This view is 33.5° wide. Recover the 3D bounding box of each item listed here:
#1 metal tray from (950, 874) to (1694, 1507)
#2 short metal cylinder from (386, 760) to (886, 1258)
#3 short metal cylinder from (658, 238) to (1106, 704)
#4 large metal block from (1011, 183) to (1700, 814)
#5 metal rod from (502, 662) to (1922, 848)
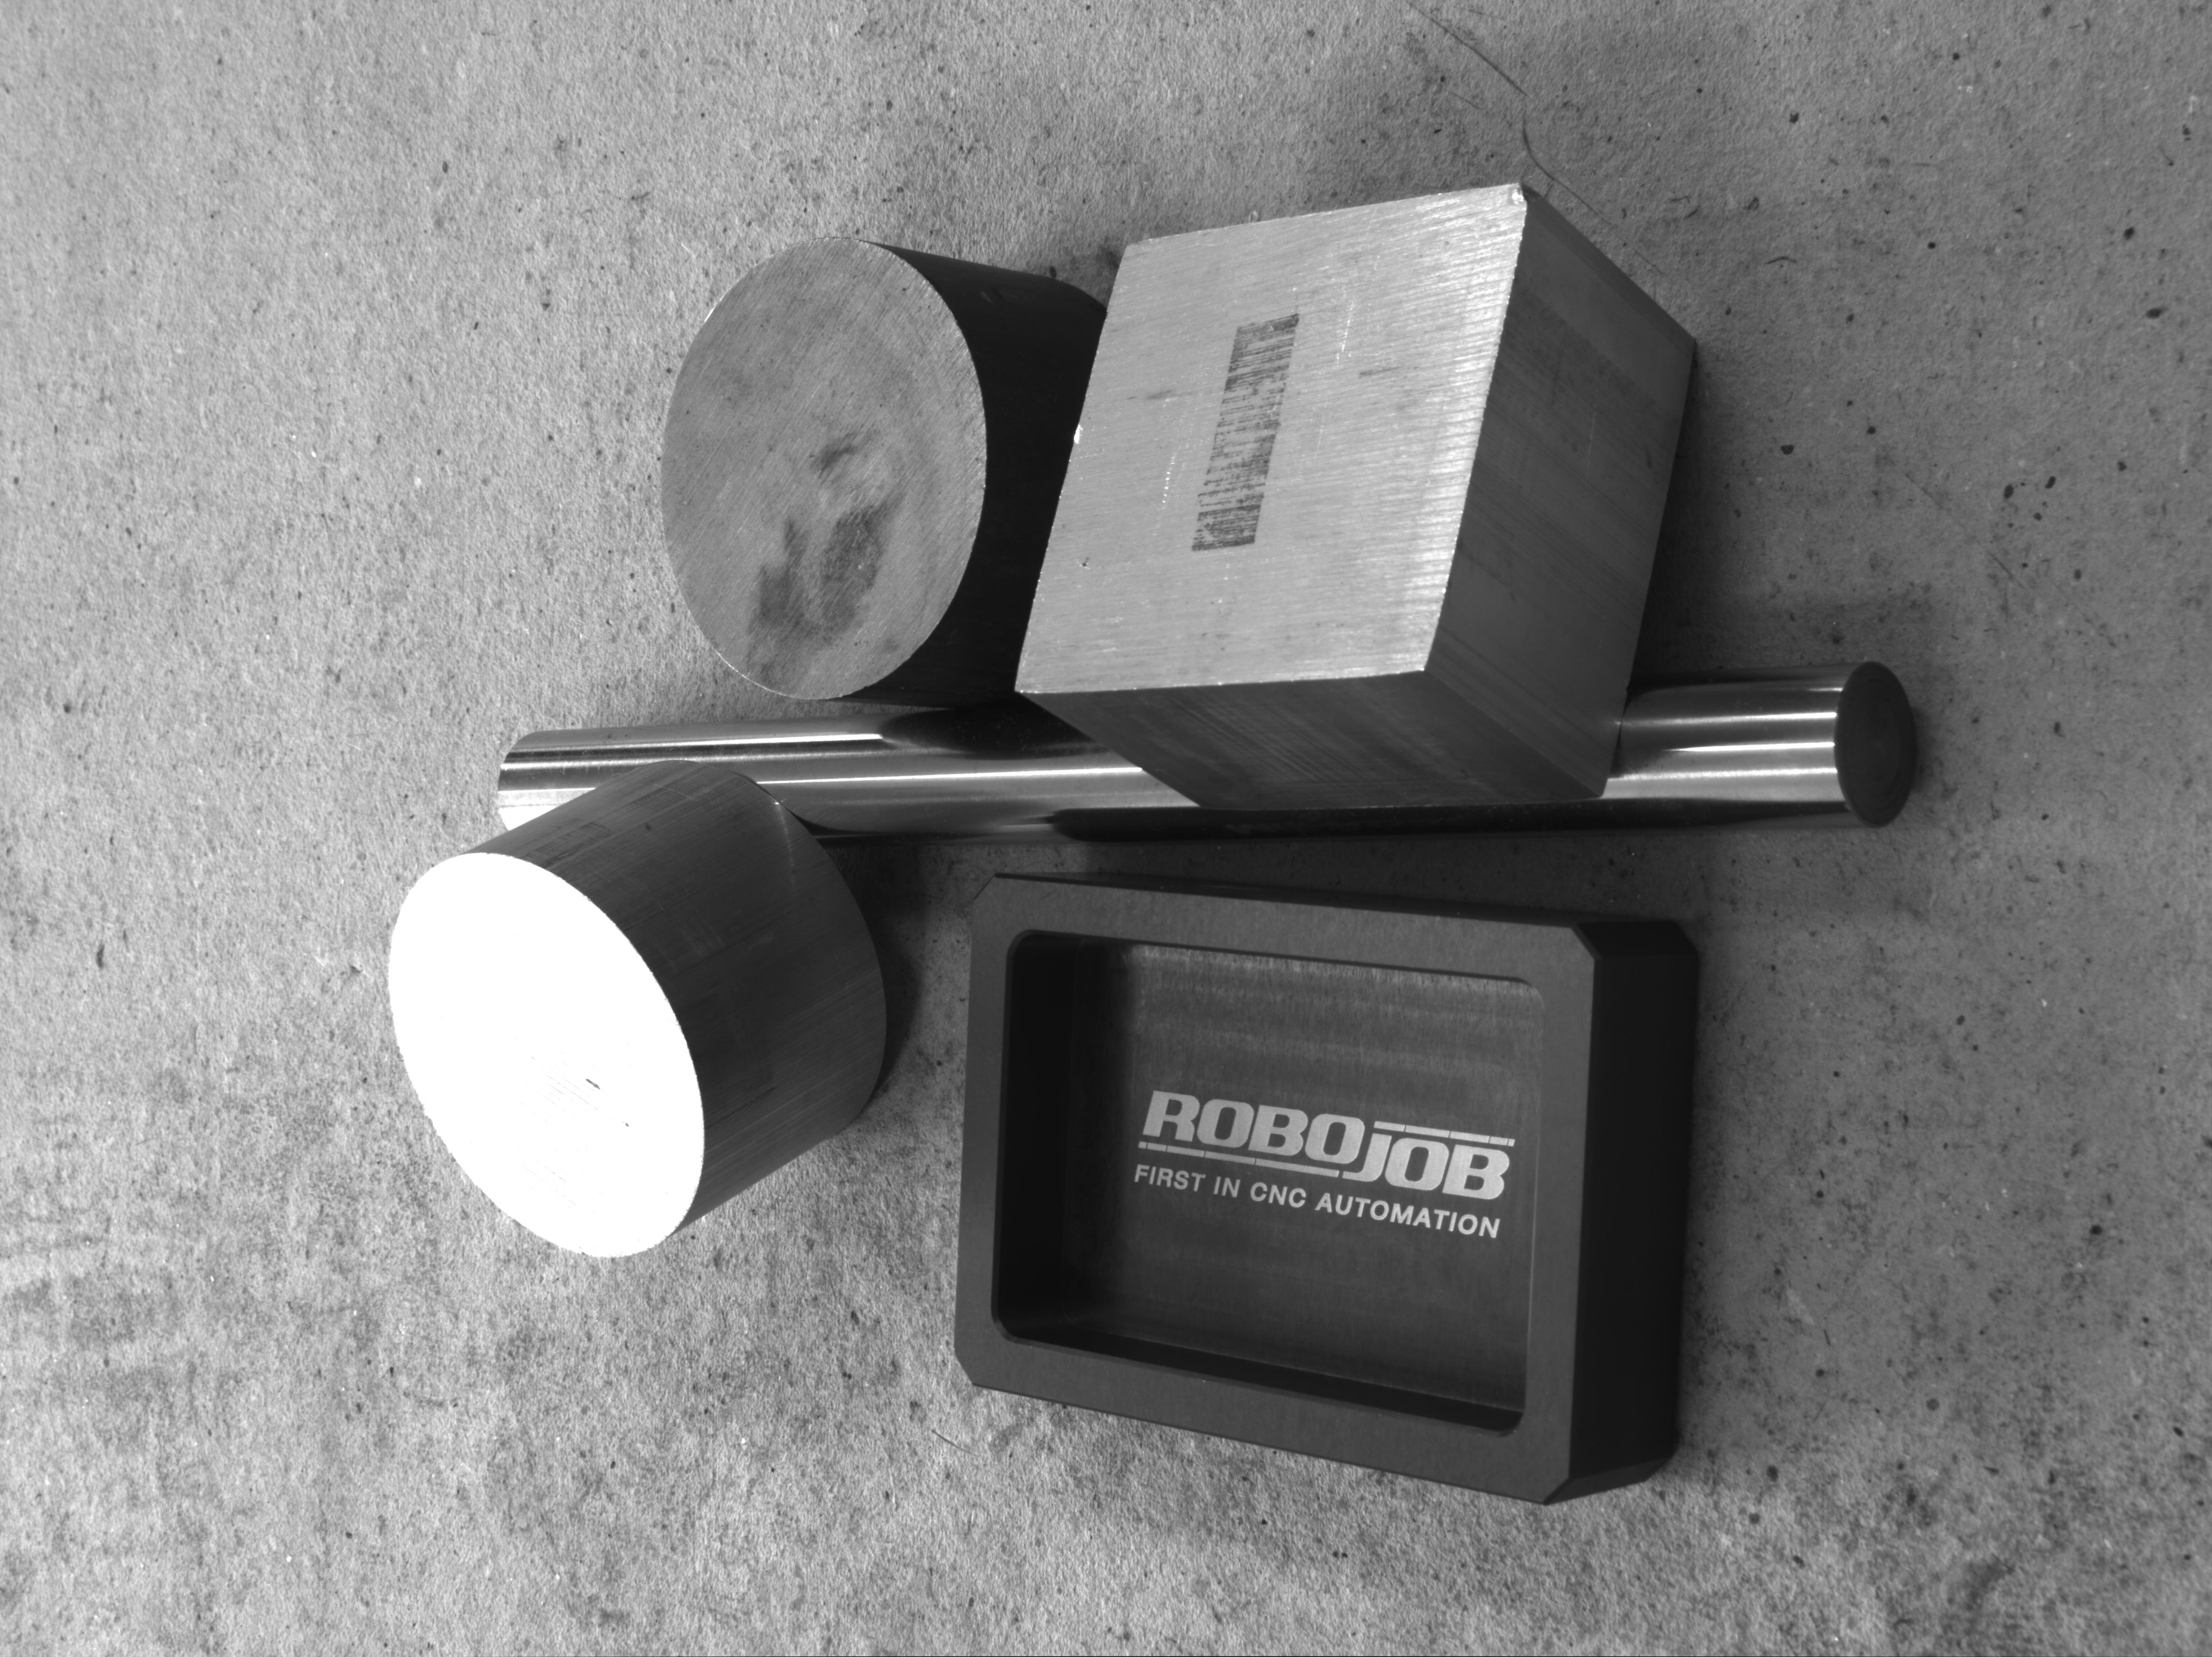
[{"bbox_3d":[0.033,0.056,0.614,0.130,0.030,0.090,4,93,40],"label":"metal tray"},{"bbox_3d":[-0.088,0.033,0.688,0.080,0.050,0.080,18,121,32],"label":"short metal cylinder"},{"bbox_3d":[-0.034,-0.062,0.659,0.080,0.050,0.080,-1,89,40],"label":"short metal cylinder"},{"bbox_3d":[0.040,-0.049,0.580,0.080,0.050,0.080,-1,68,40],"label":"large metal block"},{"bbox_3d":[0.002,-0.010,0.646,0.299,0.025,0.025,-1,89,40],"label":"metal rod"}]
